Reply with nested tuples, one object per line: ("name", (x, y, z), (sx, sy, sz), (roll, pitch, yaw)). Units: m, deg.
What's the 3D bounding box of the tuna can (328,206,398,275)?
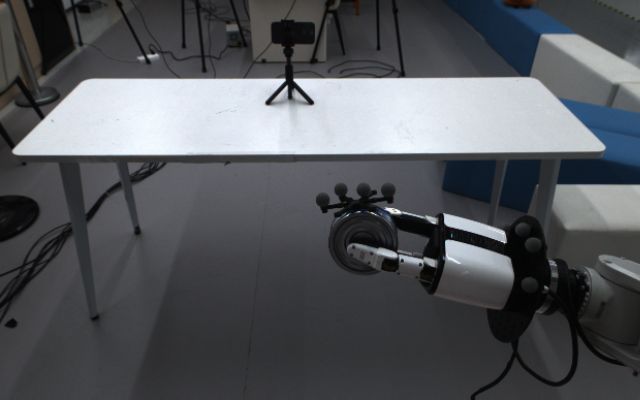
("tuna can", (0.058, 0.055, 0.595), (0.085, 0.085, 0.034), (6, 18, 5))
